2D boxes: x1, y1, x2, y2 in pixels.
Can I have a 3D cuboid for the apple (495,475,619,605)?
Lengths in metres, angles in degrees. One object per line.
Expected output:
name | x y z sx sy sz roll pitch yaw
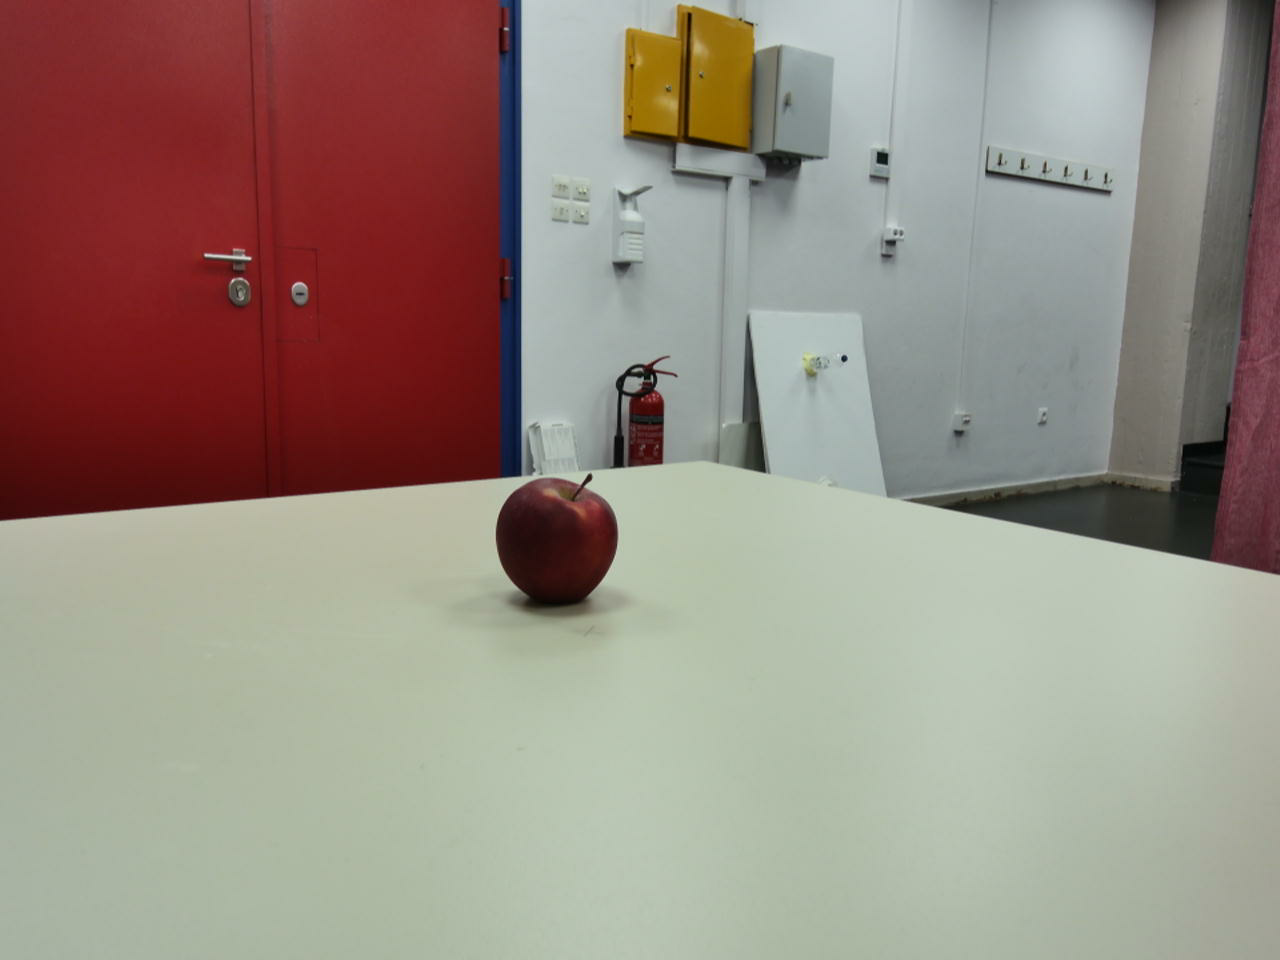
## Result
apple | -0.048 0.033 0.573 0.070 0.072 0.070 0 8 0
